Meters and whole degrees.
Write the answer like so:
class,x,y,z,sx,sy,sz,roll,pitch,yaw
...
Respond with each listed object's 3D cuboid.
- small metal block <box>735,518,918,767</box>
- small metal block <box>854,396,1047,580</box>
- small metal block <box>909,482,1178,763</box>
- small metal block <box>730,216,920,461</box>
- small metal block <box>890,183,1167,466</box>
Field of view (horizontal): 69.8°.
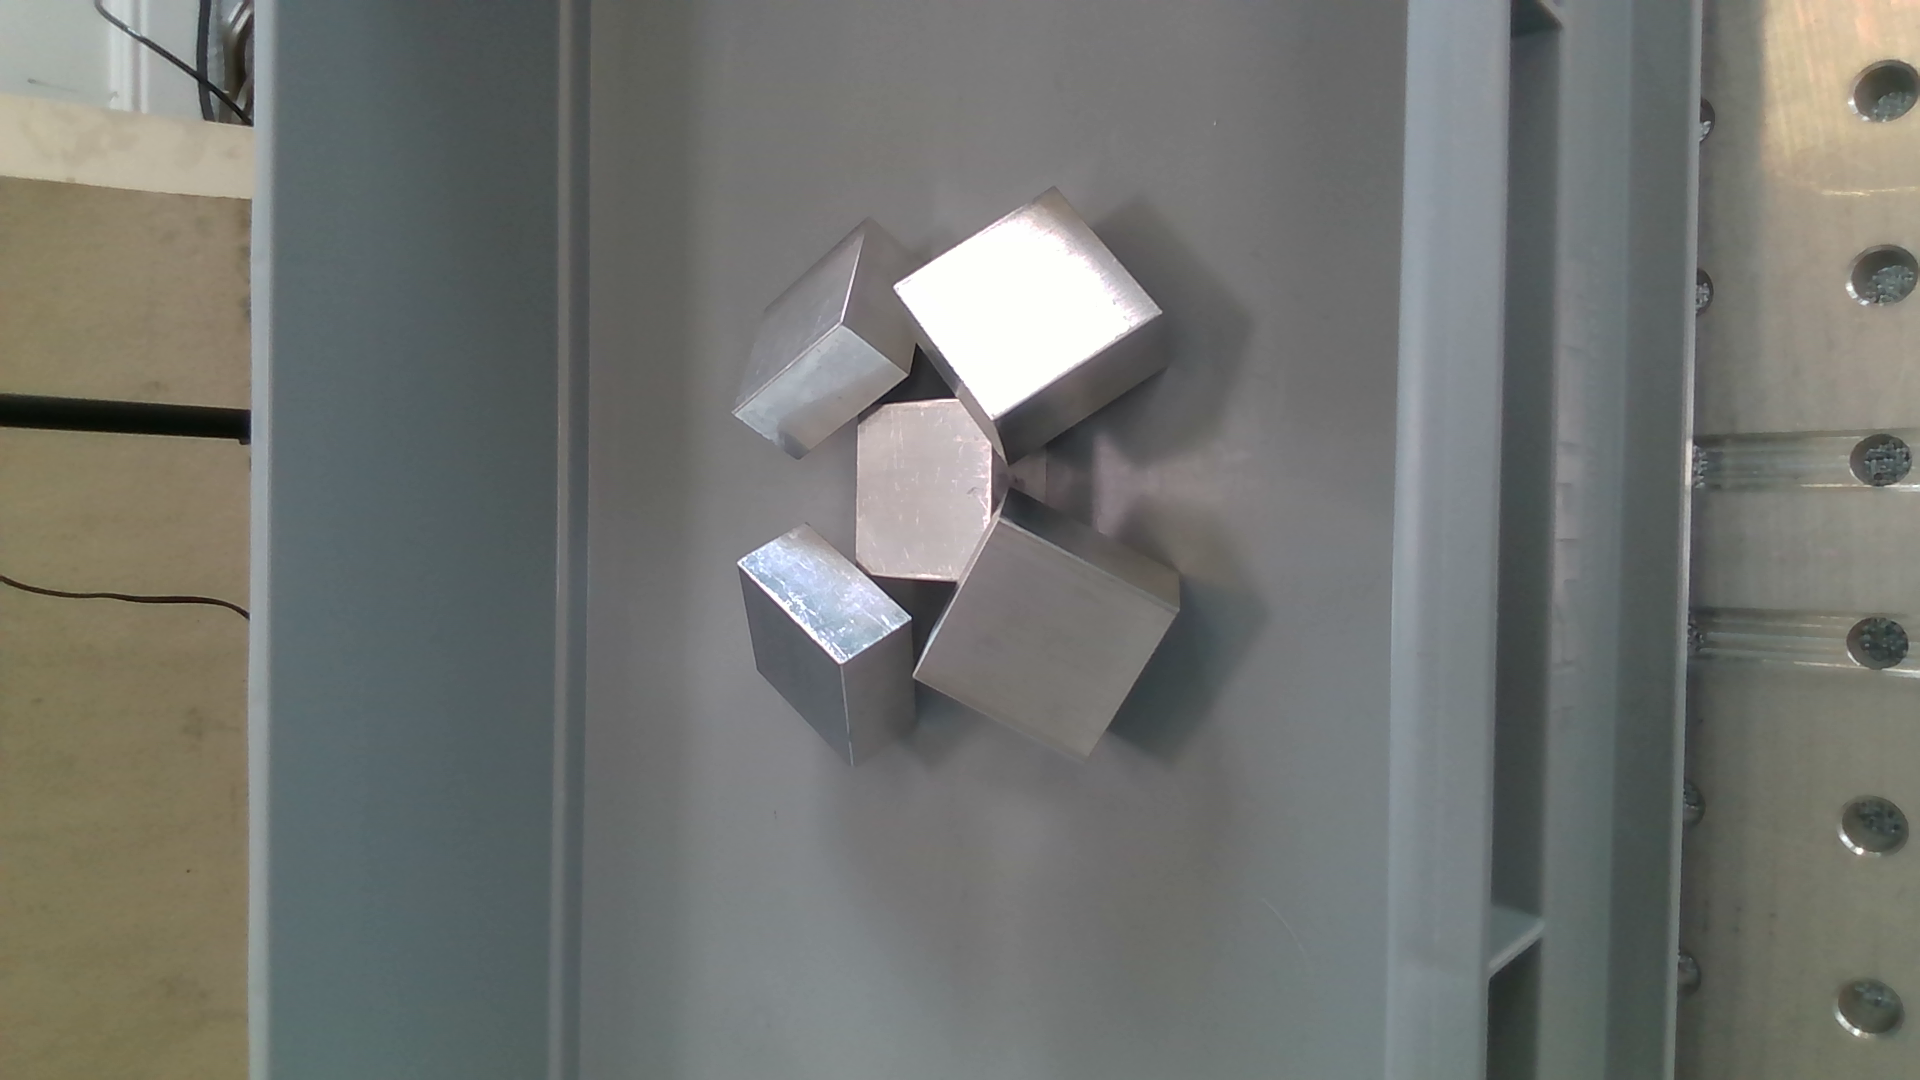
class,x,y,z,sx,sy,sz,roll,pitch,yaw
small metal block,-0.039,0.030,0.407,0.050,0.025,0.050,40,149,32
small metal block,-0.003,-0.014,0.391,0.050,0.025,0.050,2,92,40
small metal block,0.022,0.021,0.355,0.050,0.025,0.050,27,112,-2
small metal block,-0.037,-0.059,0.404,0.050,0.025,0.050,-33,32,36
small metal block,0.018,-0.056,0.357,0.050,0.025,0.050,-33,64,-5
